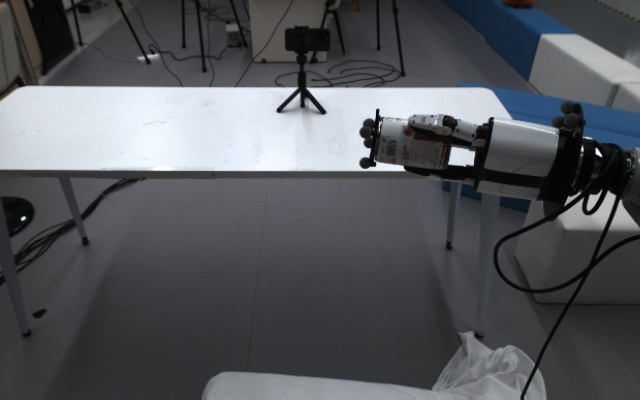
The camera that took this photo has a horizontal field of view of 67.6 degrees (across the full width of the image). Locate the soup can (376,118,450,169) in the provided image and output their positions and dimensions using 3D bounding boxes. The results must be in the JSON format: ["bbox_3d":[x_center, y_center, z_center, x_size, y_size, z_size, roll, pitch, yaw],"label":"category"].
[{"bbox_3d":[0.135,-0.081,0.694,0.101,0.067,0.067,8,35,9],"label":"soup can"}]
